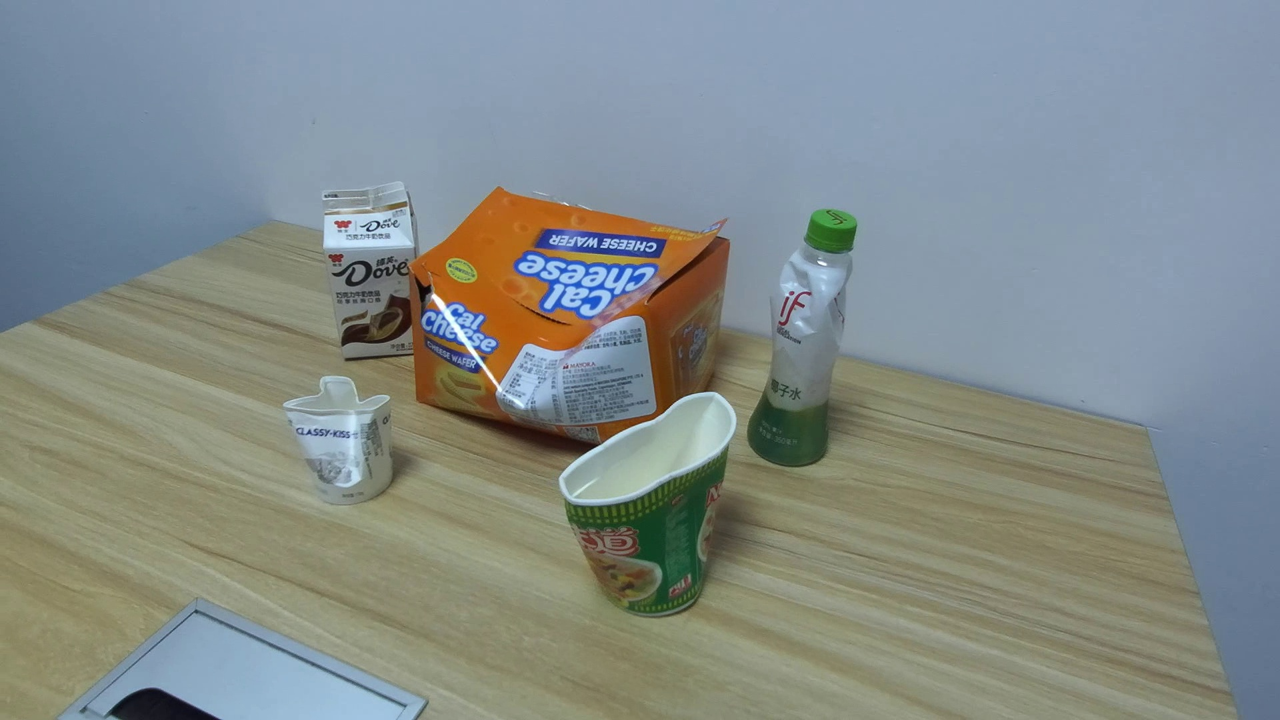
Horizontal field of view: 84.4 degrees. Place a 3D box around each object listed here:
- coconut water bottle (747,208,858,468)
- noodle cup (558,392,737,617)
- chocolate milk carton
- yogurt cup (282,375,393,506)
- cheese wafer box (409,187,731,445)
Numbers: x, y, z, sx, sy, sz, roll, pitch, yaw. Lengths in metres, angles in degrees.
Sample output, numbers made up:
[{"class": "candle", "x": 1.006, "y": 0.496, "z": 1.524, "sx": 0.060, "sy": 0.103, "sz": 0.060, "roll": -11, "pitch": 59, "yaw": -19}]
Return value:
[{"class": "coconut water bottle", "x": 0.121, "y": -0.013, "z": 0.506, "sx": 0.067, "sy": 0.187, "sz": 0.067, "roll": 3, "pitch": 32, "yaw": -2}, {"class": "noodle cup", "x": 0.006, "y": 0.089, "z": 0.413, "sx": 0.115, "sy": 0.111, "sz": 0.070, "roll": -12, "pitch": 36, "yaw": -21}, {"class": "chocolate milk carton", "x": -0.233, "y": -0.083, "z": 0.625, "sx": 0.075, "sy": 0.148, "sz": 0.074, "roll": -5, "pitch": 33, "yaw": -15}, {"class": "yogurt cup", "x": -0.200, "y": 0.055, "z": 0.485, "sx": 0.054, "sy": 0.072, "sz": 0.055, "roll": 17, "pitch": 32, "yaw": 22}, {"class": "cheese wafer box", "x": -0.058, "y": -0.032, "z": 0.564, "sx": 0.218, "sy": 0.145, "sz": 0.191, "roll": 13, "pitch": 34, "yaw": 15}]
